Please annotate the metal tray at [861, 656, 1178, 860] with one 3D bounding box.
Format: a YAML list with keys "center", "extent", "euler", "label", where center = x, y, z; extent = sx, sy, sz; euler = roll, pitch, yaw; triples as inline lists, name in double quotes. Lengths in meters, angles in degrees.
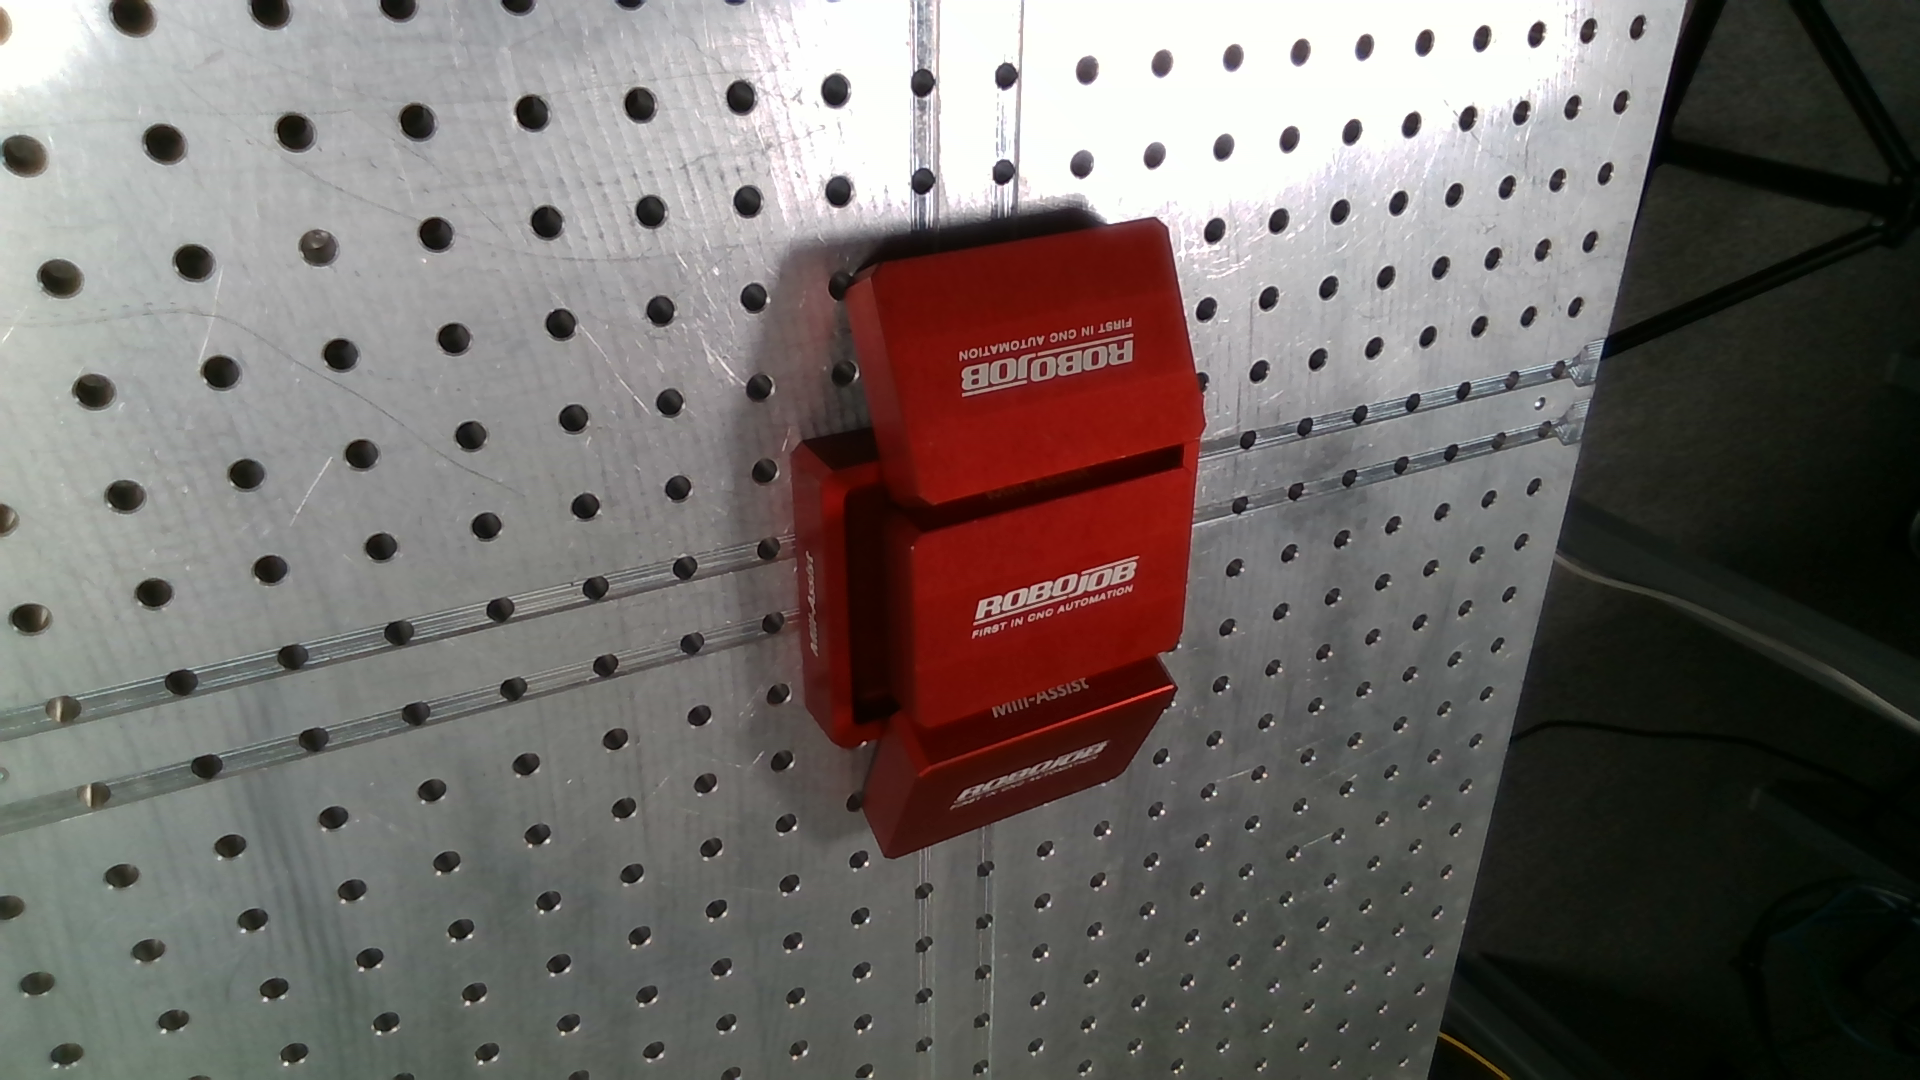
- center: [0.025, 0.094, 0.622]
  extent: [0.130, 0.030, 0.090]
  euler: [-15, 149, -24]
  label: "metal tray"

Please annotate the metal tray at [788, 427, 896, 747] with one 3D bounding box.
- center: [-0.021, 0.015, 0.576]
  extent: [0.090, 0.030, 0.130]
  euler: [-14, 121, -25]
  label: "metal tray"

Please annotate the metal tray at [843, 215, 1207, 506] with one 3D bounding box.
- center: [0.028, -0.071, 0.536]
  extent: [0.130, 0.030, 0.090]
  euler: [-15, 96, -24]
  label: "metal tray"

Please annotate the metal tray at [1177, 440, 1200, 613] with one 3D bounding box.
- center: [0.059, -0.005, 0.613]
  extent: [0.090, 0.030, 0.130]
  euler: [-14, 121, -25]
  label: "metal tray"

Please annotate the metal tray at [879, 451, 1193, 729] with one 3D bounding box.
- center: [0.033, 0.017, 0.570]
  extent: [0.130, 0.030, 0.090]
  euler: [-15, 122, -24]
  label: "metal tray"
